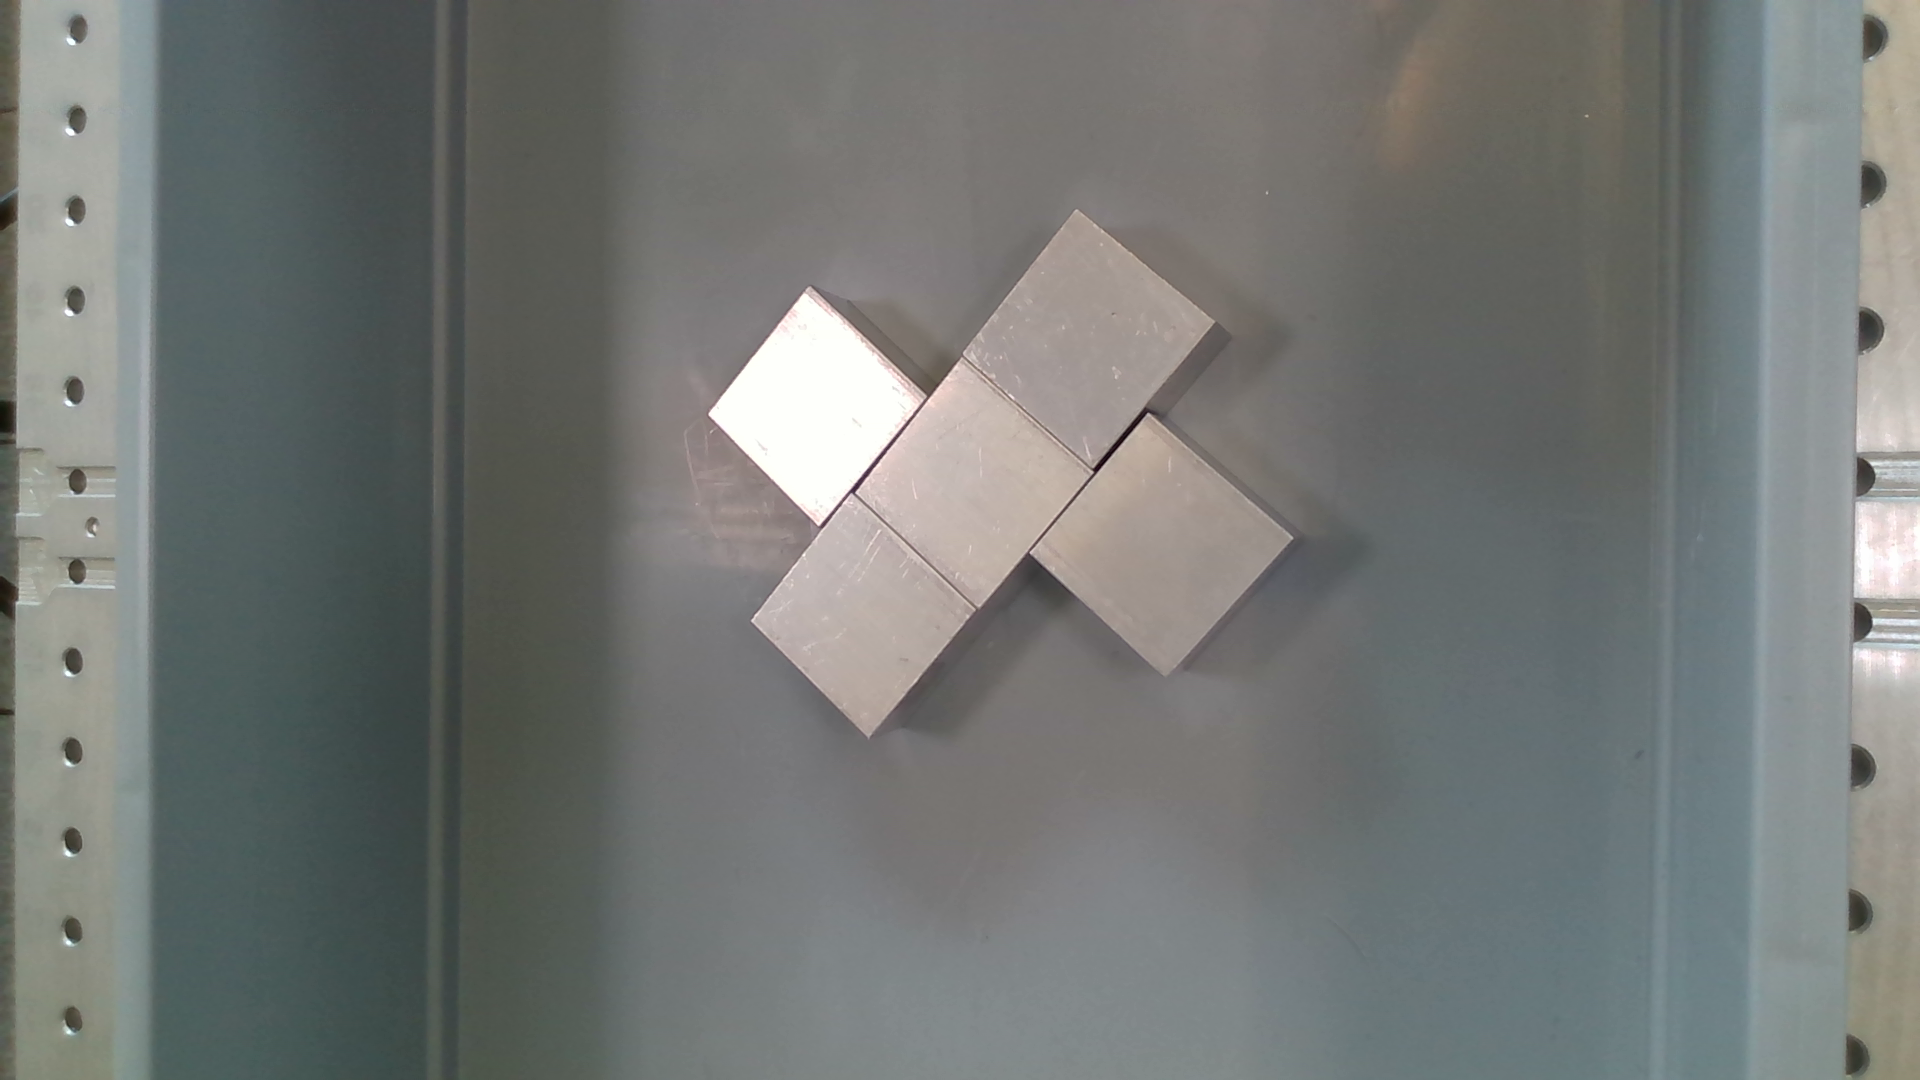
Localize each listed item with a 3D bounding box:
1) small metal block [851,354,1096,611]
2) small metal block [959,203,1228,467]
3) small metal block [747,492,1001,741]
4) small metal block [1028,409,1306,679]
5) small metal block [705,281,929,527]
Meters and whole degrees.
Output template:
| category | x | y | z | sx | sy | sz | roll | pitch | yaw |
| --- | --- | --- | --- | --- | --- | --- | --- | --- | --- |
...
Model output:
| category | x | y | z | sx | sy | sz | roll | pitch | yaw |
| --- | --- | --- | --- | --- | --- | --- | --- | --- | --- |
| small metal block | 0.006 | -0.016 | 0.389 | 0.050 | 0.025 | 0.050 | 43 | 104 | 15 |
| small metal block | 0.037 | -0.055 | 0.378 | 0.050 | 0.025 | 0.050 | 43 | 104 | 15 |
| small metal block | -0.025 | 0.022 | 0.401 | 0.050 | 0.025 | 0.050 | 43 | 104 | 15 |
| small metal block | 0.056 | 0.001 | 0.371 | 0.050 | 0.025 | 0.050 | 43 | 104 | 14 |
| small metal block | -0.038 | -0.039 | 0.406 | 0.050 | 0.025 | 0.050 | 45 | 104 | 15 |
